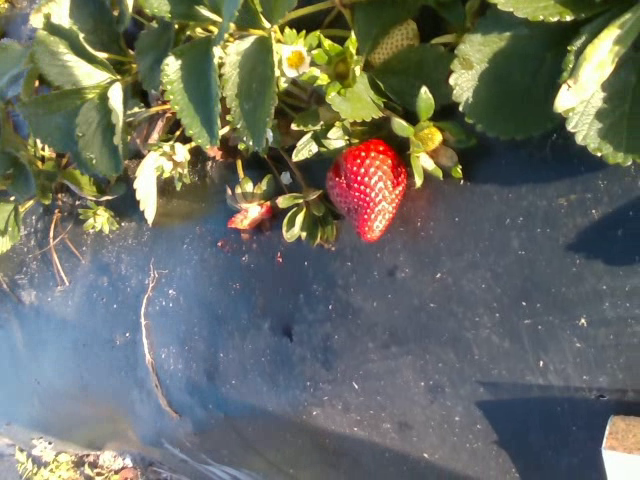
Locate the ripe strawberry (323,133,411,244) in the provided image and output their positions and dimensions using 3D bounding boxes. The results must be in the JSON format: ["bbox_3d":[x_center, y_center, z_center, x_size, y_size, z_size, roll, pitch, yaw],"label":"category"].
[{"bbox_3d":[0.023,-0.021,0.306,0.041,0.052,0.052,18,-35,-27],"label":"ripe strawberry"}]
